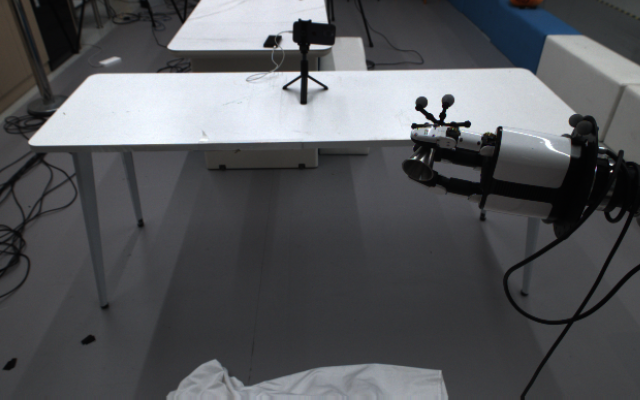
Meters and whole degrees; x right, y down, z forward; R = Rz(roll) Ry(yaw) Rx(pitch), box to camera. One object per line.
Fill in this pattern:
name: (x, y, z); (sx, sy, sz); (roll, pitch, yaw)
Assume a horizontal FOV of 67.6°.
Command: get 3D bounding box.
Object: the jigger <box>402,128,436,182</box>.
jigger: (0.142, -0.069, 0.650); (0.043, 0.043, 0.071); (19, 61, 23)
